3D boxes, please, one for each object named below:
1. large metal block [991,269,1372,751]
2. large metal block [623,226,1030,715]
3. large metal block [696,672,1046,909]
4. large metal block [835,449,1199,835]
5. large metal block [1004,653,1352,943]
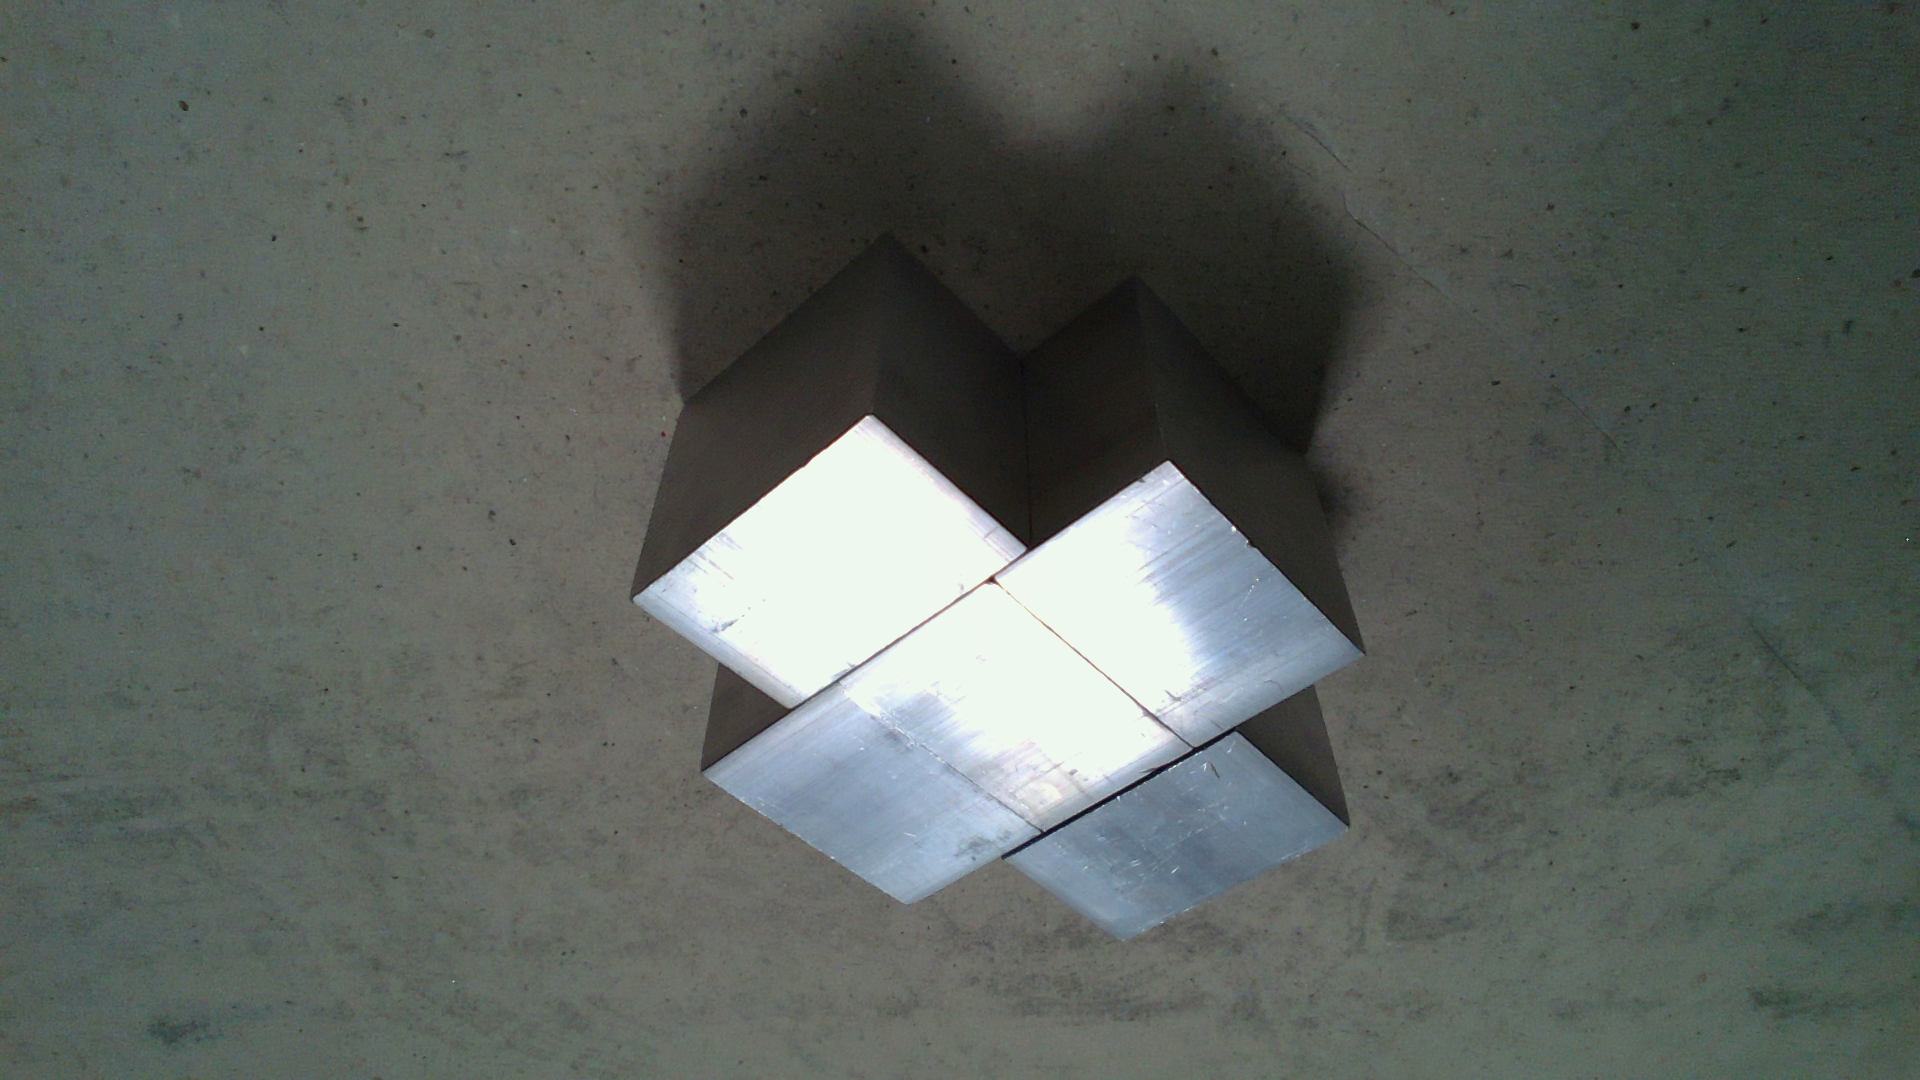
[{"bbox_3d":[0.053,-0.008,0.349,0.050,0.080,0.080,-35,122,26],"label":"large metal block"},{"bbox_3d":[-0.031,-0.017,0.340,0.080,0.080,0.050,-35,122,26],"label":"large metal block"},{"bbox_3d":[-0.022,0.044,0.392,0.050,0.080,0.080,-35,122,26],"label":"large metal block"},{"bbox_3d":[0.015,0.018,0.371,0.050,0.080,0.080,-35,122,26],"label":"large metal block"},{"bbox_3d":[0.059,0.057,0.404,0.080,0.080,0.050,-35,122,26],"label":"large metal block"}]
